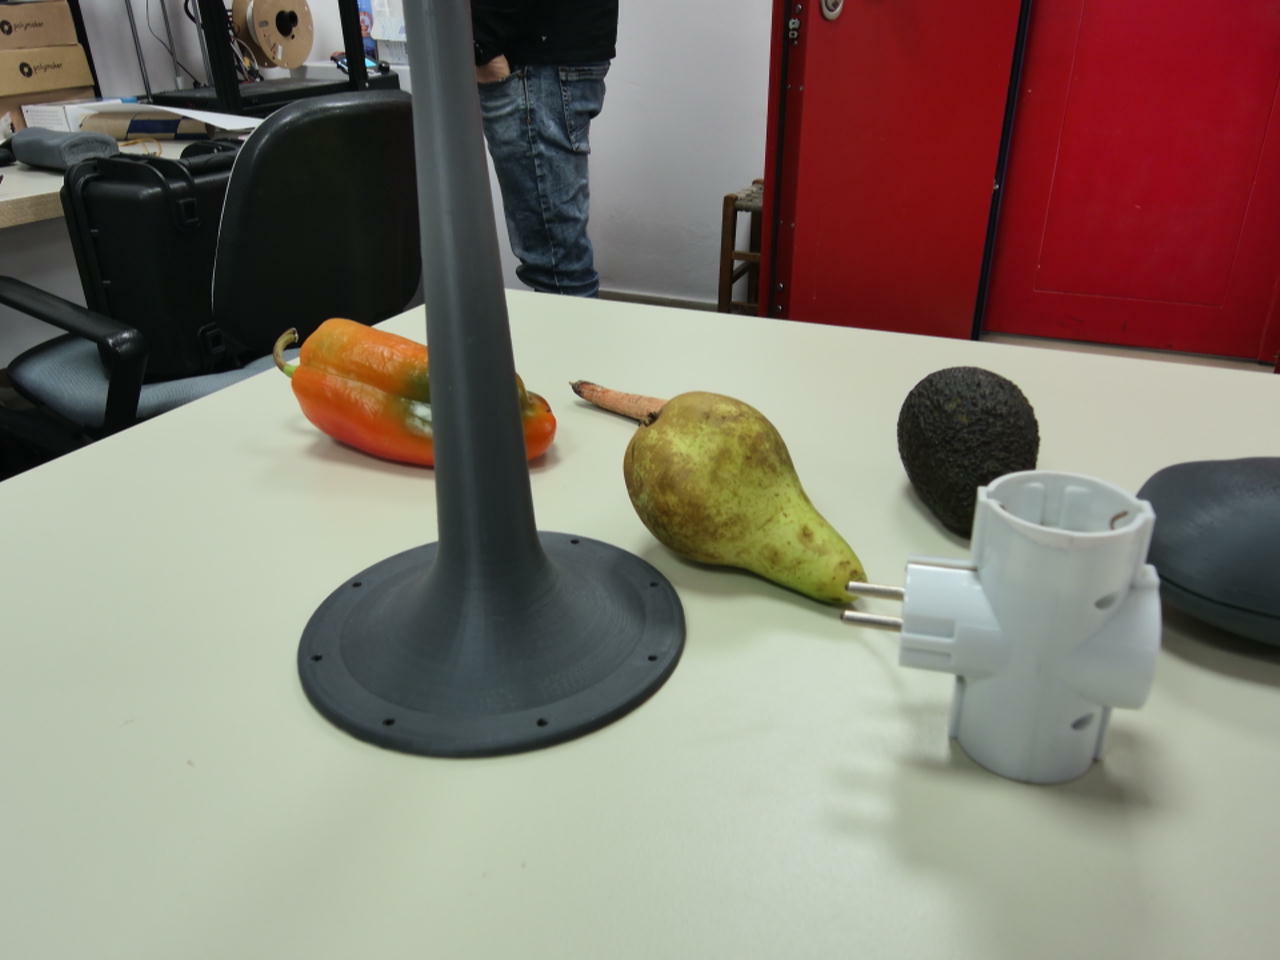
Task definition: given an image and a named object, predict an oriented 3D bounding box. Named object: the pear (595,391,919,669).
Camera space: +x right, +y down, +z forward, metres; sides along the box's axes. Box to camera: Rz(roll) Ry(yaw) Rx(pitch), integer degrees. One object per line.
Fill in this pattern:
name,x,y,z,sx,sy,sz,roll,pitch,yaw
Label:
pear,0.059,0.006,0.423,0.144,0.075,0.071,14,28,30
